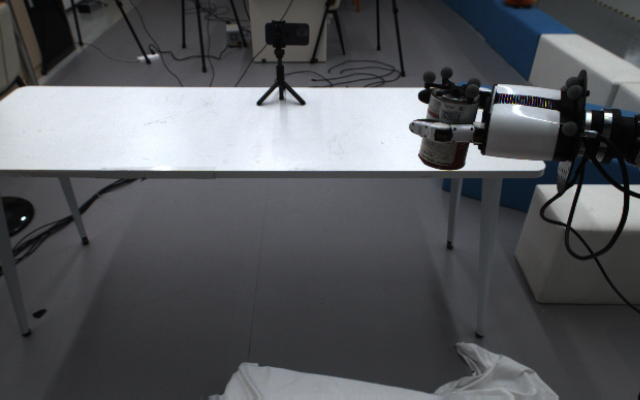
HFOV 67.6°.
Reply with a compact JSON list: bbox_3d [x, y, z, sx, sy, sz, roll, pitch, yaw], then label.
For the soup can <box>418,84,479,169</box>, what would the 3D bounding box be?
[{"bbox_3d":[0.182,-0.103,0.684,0.067,0.101,0.067,3,30,-2],"label":"soup can"}]
